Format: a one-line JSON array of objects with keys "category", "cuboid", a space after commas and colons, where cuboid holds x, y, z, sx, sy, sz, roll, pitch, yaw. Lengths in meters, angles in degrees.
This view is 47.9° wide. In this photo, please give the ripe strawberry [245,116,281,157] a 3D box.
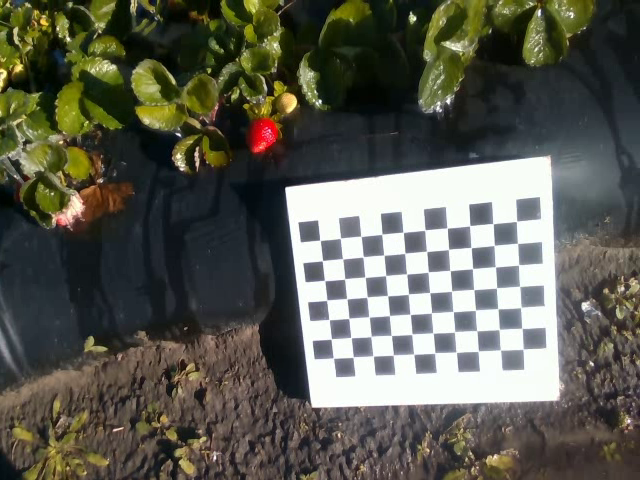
[{"category": "ripe strawberry", "cuboid": [-0.053, -0.091, 0.643, 0.039, 0.040, 0.039, -14, 31, 26]}]
